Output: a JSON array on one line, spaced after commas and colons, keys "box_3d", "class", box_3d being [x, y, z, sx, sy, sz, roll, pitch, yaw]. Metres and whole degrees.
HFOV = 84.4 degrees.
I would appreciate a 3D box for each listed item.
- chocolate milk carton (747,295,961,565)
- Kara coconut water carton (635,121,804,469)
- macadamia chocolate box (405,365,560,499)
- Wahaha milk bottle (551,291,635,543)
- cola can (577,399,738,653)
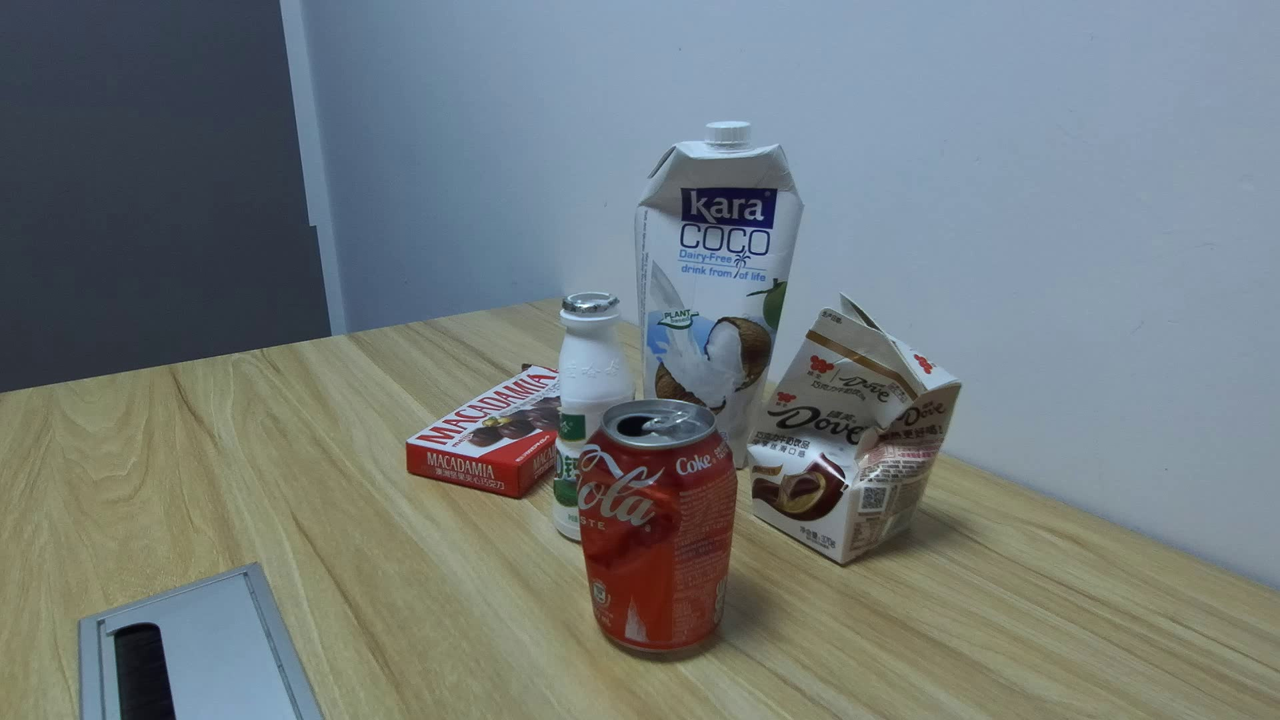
[{"box_3d": [0.124, 0.041, 0.413, 0.077, 0.155, 0.089, -22, 44, -37], "class": "chocolate milk carton"}, {"box_3d": [0.050, -0.043, 0.499, 0.115, 0.238, 0.069, 5, 20, 8], "class": "Kara coconut water carton"}, {"box_3d": [-0.087, 0.047, 0.560, 0.105, 0.028, 0.183, 8, 23, 20], "class": "macadamia chocolate box"}, {"box_3d": [-0.027, 0.034, 0.418, 0.056, 0.148, 0.056, 0, 20, 0], "class": "Wahaha milk bottle"}, {"box_3d": [0.010, 0.079, 0.343, 0.067, 0.117, 0.065, -16, 25, -40], "class": "cola can"}]
